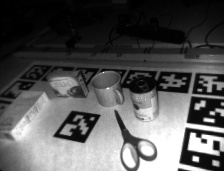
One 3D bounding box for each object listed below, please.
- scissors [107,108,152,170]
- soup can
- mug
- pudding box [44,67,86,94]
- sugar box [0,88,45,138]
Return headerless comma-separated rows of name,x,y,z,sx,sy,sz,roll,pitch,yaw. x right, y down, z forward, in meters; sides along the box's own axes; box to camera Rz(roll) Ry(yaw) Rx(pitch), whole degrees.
scissors,0.026,0.121,0.549,0.088,0.016,0.200,-30,41,-2
soup can,0.073,0.034,0.582,0.067,0.103,0.067,-10,38,9
mug,-0.016,0.001,0.655,0.093,0.082,0.116,-21,38,-2
pudding box,-0.153,-0.016,0.708,0.113,0.091,0.038,-2,48,16
sugar box,-0.301,0.082,0.690,0.092,0.046,0.176,2,44,23
